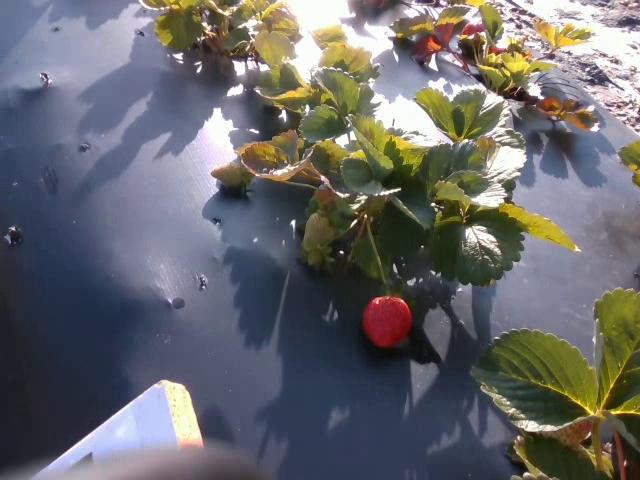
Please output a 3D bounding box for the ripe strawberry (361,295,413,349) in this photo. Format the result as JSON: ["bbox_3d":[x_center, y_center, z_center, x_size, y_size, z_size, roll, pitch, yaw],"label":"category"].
[{"bbox_3d":[0.041,0.053,0.364,0.030,0.033,0.045,-14,28,33],"label":"ripe strawberry"}]
